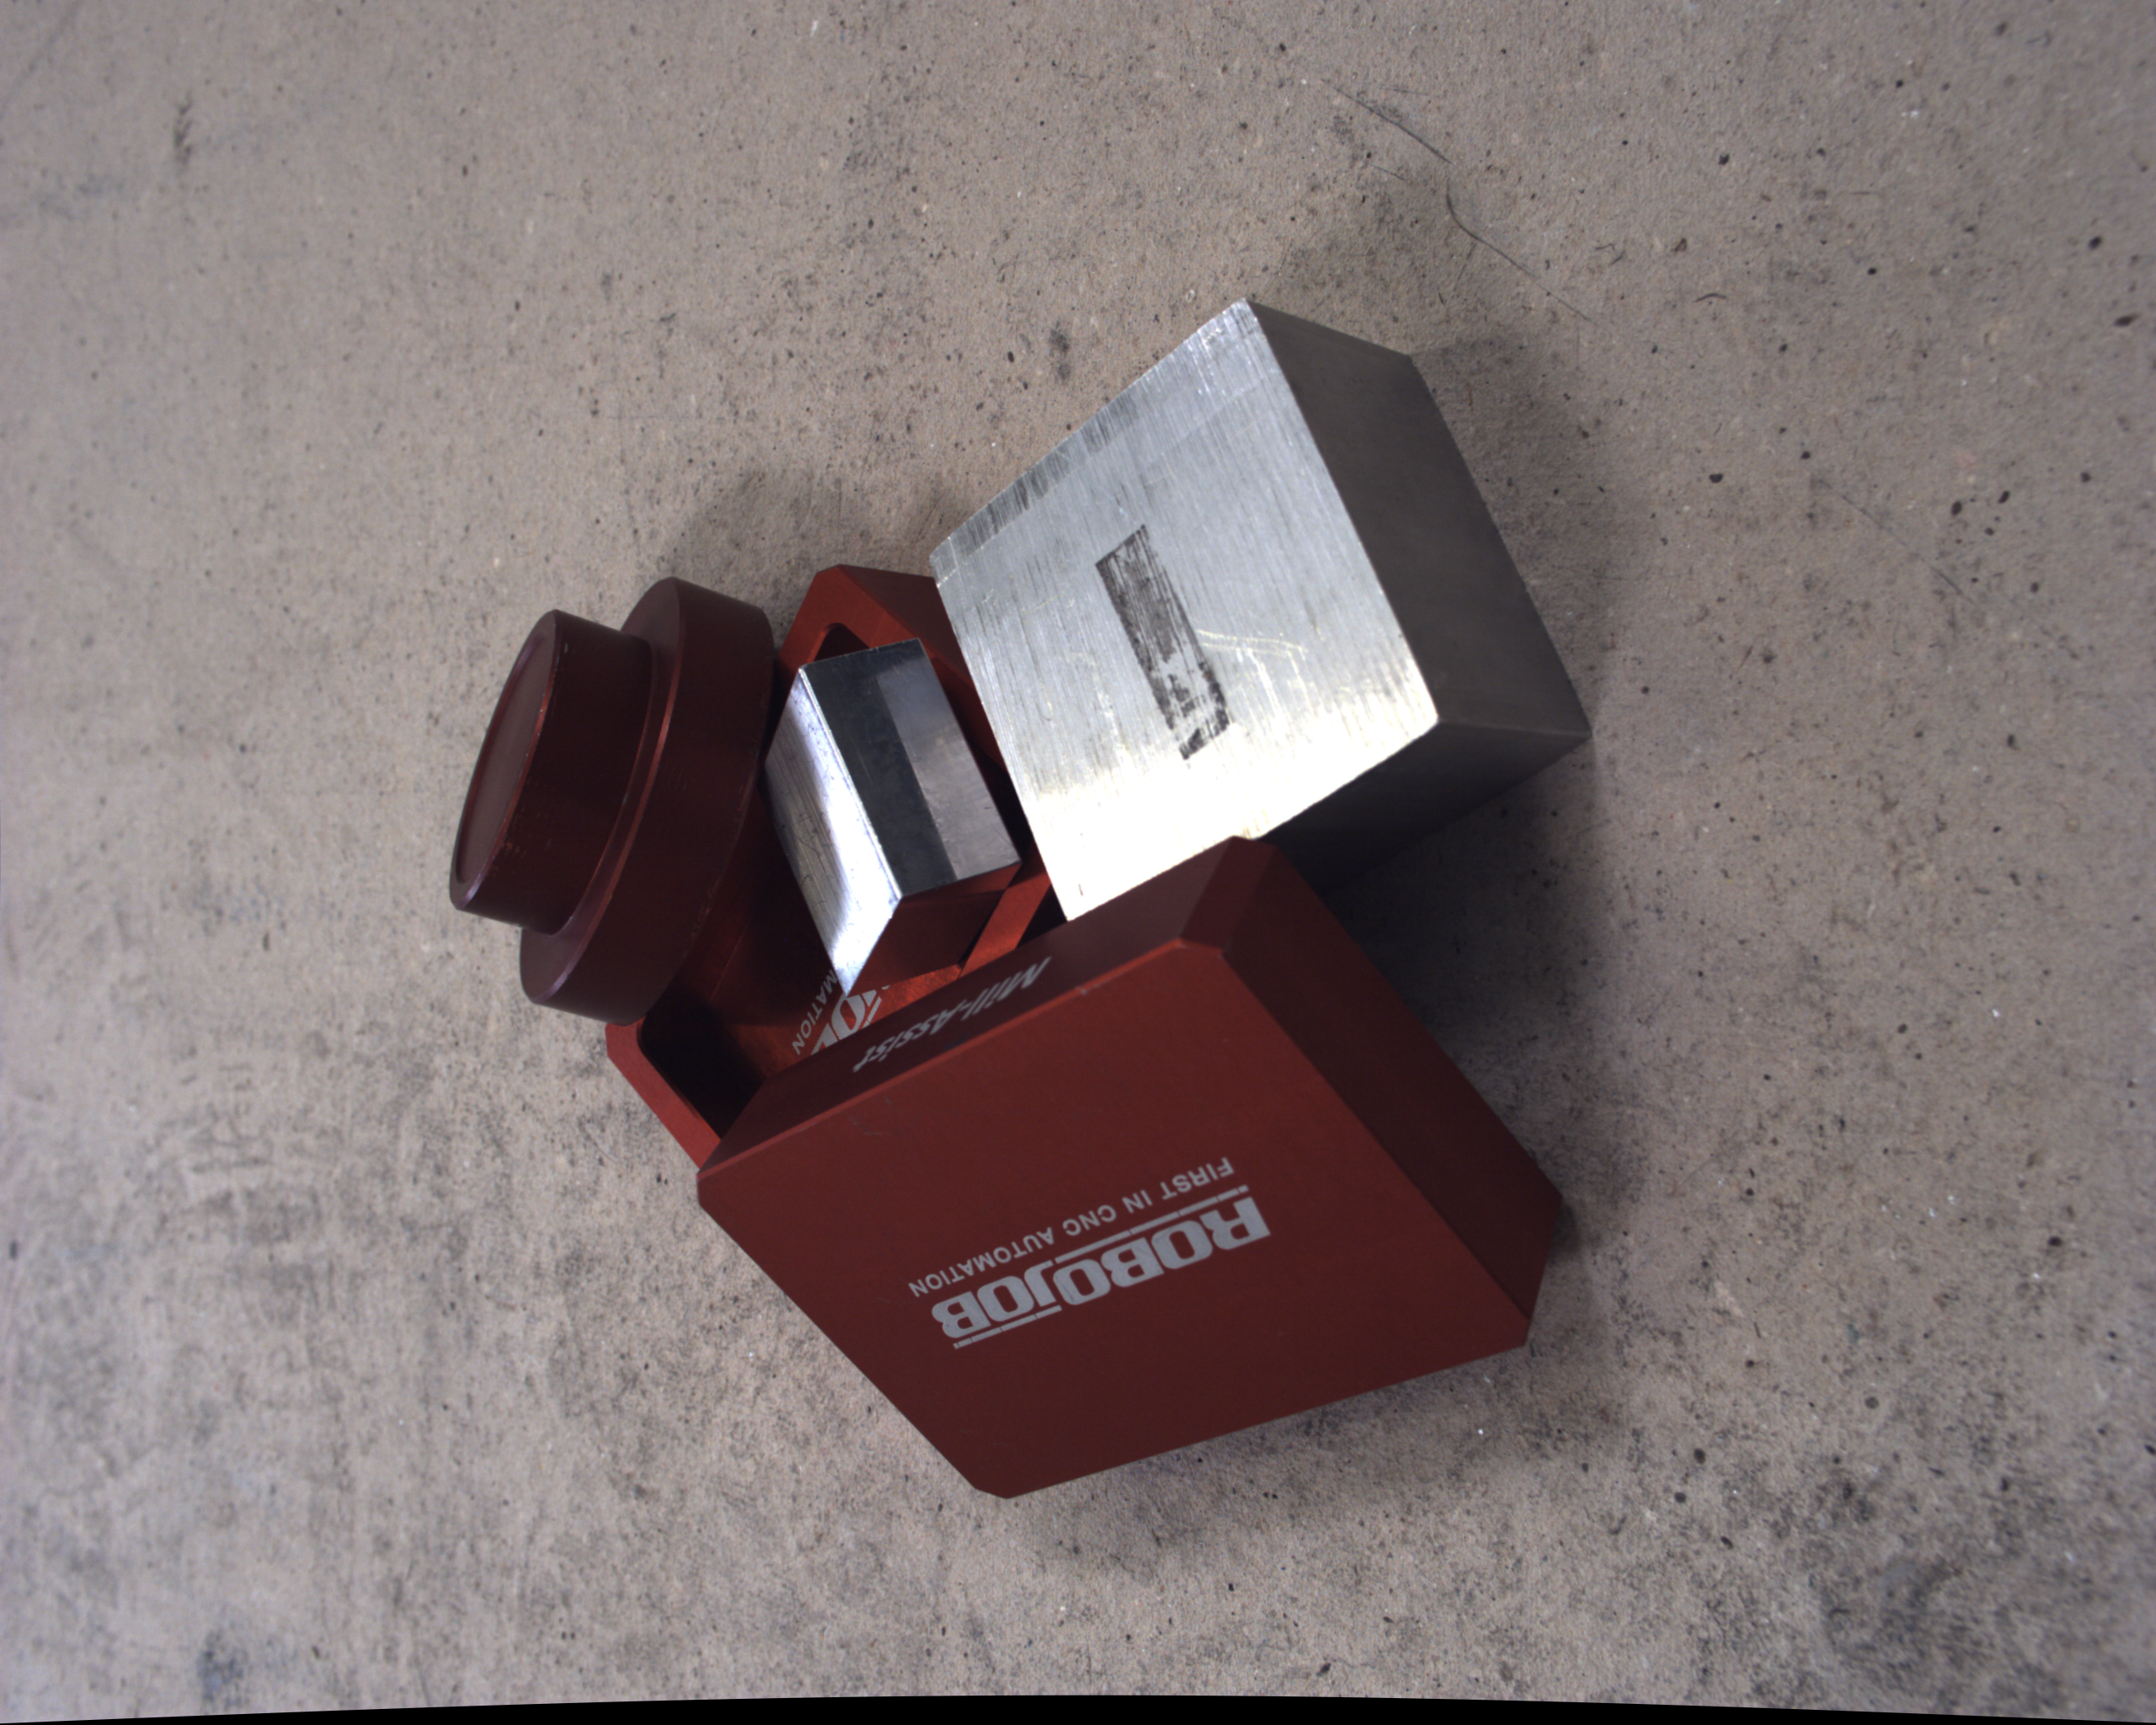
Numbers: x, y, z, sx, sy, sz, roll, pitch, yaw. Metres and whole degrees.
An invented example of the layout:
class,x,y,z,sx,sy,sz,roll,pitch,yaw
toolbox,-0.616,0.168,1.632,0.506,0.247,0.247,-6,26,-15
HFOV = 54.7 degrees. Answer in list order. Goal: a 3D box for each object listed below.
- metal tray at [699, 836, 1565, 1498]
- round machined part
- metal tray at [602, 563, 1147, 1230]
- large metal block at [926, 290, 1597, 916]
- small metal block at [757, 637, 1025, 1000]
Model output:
class,x,y,z,sx,sy,sz,roll,pitch,yaw
metal tray,0.006,0.059,0.368,0.130,0.030,0.090,-29,109,37
round machined part,-0.105,-0.017,0.455,0.097,0.042,0.098,-45,34,45
metal tray,-0.044,0.015,0.438,0.090,0.030,0.129,42,115,31
large metal block,0.030,-0.039,0.366,0.080,0.050,0.080,-33,70,35
small metal block,-0.038,-0.008,0.408,0.050,0.025,0.050,65,153,17
